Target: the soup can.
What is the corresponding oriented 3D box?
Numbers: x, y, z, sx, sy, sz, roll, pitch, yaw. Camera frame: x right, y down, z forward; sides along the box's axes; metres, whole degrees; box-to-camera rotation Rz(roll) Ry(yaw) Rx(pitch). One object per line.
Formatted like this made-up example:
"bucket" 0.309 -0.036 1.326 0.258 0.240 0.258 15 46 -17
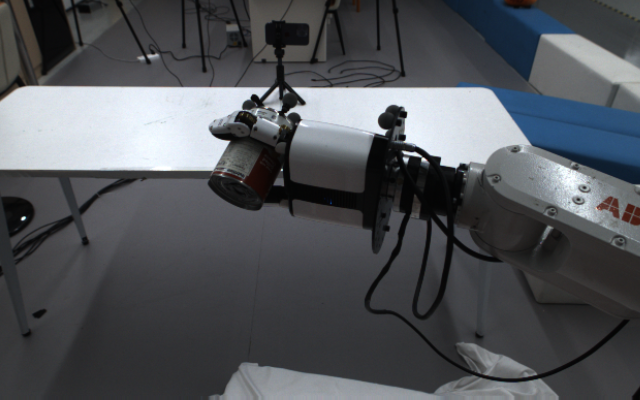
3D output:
"soup can" -0.074 -0.049 0.555 0.067 0.067 0.101 15 63 18
